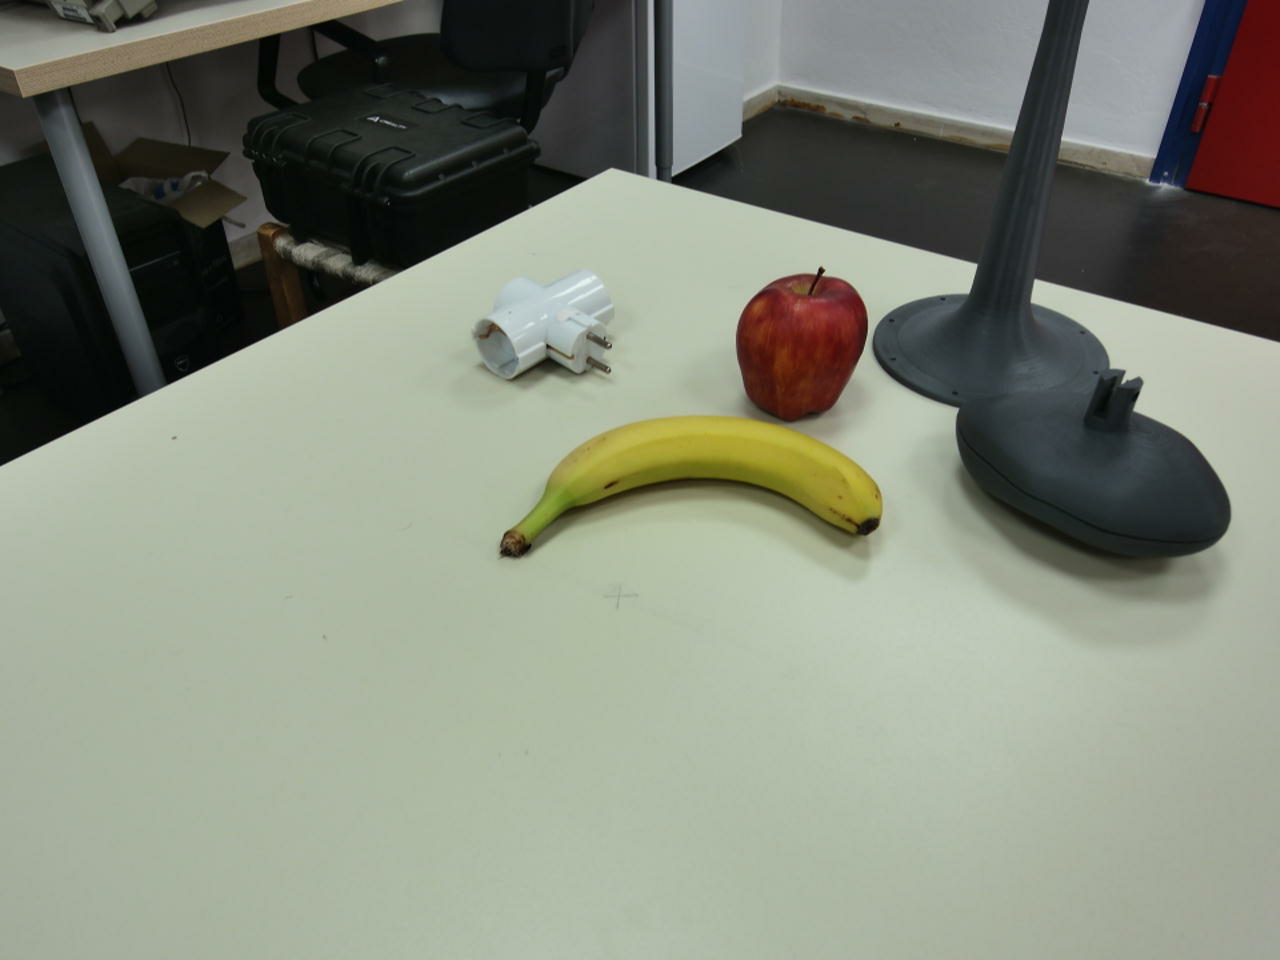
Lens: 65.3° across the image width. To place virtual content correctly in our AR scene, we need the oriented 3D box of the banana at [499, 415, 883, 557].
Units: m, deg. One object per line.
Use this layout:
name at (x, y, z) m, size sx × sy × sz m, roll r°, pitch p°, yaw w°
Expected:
banana at (0.026, -0.001, 0.541) m, size 0.196 × 0.041 × 0.094 m, roll 1°, pitch 37°, yaw 2°
